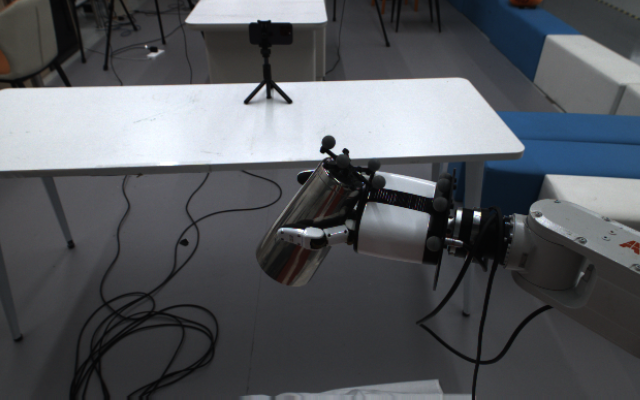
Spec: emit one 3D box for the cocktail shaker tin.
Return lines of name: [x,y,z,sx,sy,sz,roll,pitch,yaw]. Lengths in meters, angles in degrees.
cocktail shaker tin: [-0.009,0.023,0.655,0.093,0.170,0.093,26,31,-17]
